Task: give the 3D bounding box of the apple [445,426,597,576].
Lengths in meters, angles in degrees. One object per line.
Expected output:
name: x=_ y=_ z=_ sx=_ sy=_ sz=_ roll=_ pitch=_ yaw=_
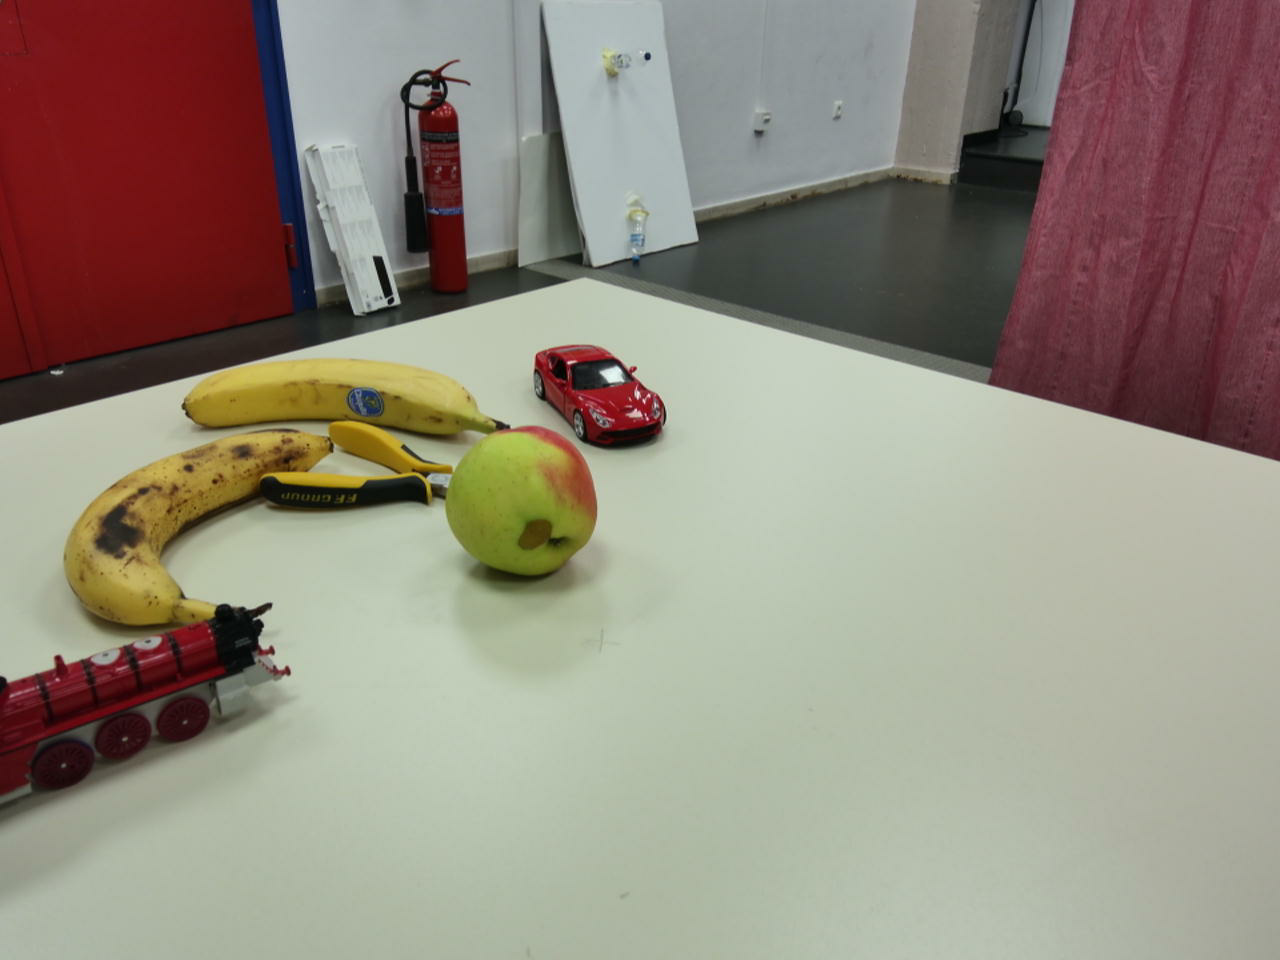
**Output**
apple: x=-0.058 y=0.010 z=0.507 sx=0.075 sy=0.074 sz=0.075 roll=11 pitch=26 yaw=19
